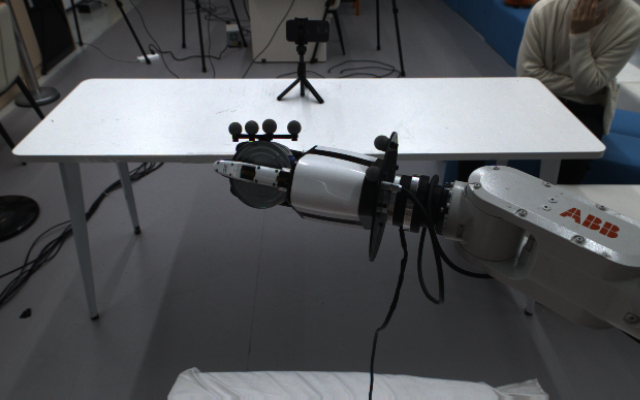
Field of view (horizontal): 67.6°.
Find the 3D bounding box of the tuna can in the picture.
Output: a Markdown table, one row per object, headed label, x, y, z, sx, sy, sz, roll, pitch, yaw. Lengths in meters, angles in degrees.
| label | x | y | z | sx | sy | sz | roll | pitch | yaw |
| --- | --- | --- | --- | --- | --- | --- | --- | --- | --- |
| tuna can | -0.069 | -0.032 | 0.620 | 0.085 | 0.085 | 0.034 | 12 | 8 | 14 |
